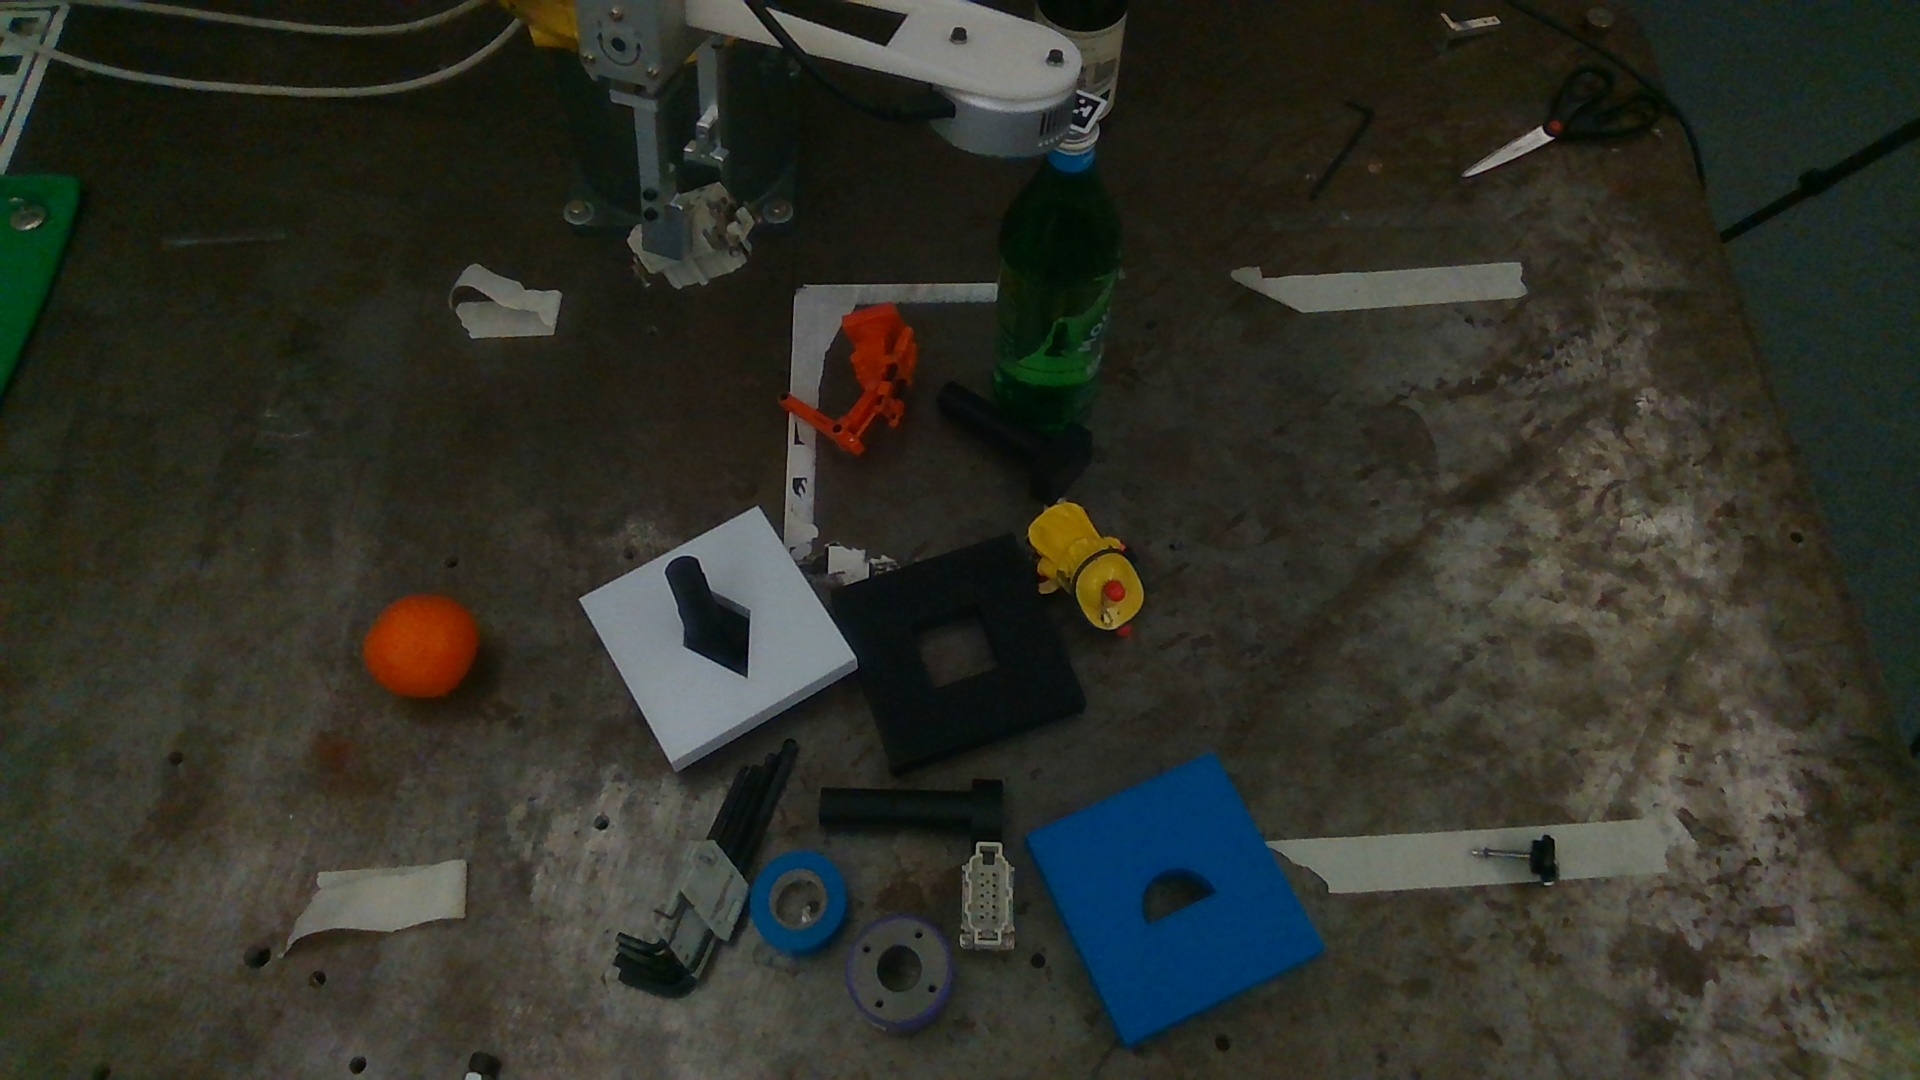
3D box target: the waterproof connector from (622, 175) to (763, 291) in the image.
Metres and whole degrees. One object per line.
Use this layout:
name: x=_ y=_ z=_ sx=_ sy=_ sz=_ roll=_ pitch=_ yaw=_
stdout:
waterproof connector: x=-0.130 y=-0.146 z=0.671 sx=0.069 sy=0.038 sz=0.036 roll=-13 pitch=38 yaw=28
